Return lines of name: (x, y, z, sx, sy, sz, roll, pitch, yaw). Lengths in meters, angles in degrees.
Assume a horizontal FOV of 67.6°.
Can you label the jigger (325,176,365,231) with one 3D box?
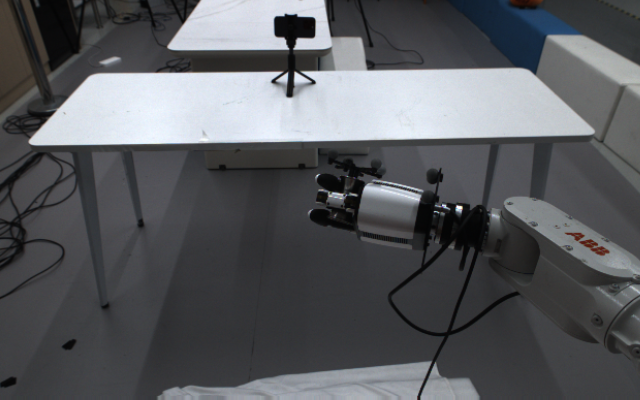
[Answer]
jigger: (0.043, 0.000, 0.743, 0.043, 0.071, 0.043, 16, -7, 2)
